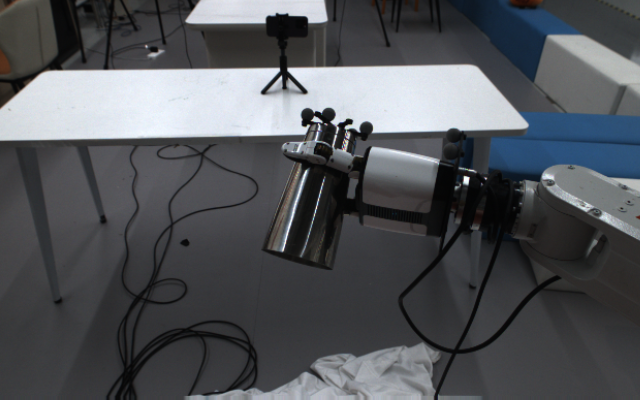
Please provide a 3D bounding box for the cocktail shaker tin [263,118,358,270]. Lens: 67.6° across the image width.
[{"bbox_3d":[-0.004,-0.009,0.612,0.093,0.093,0.170,13,77,15],"label":"cocktail shaker tin"}]
